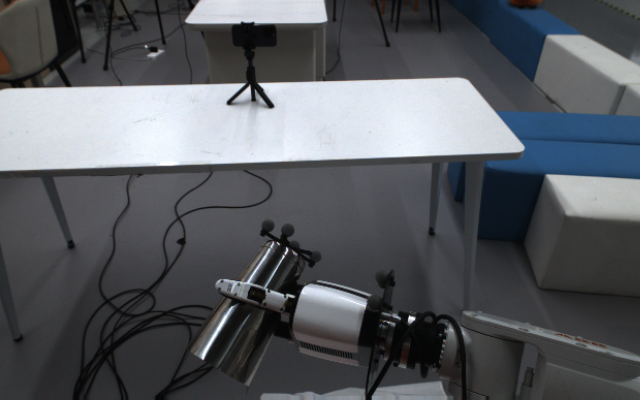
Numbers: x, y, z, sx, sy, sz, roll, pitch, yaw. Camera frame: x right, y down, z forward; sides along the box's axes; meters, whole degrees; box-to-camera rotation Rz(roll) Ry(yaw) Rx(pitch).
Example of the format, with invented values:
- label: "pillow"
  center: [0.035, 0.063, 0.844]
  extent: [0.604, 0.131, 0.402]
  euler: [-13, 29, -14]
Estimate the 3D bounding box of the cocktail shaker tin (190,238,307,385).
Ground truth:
- label: "cocktail shaker tin"
  center: [-0.088, 0.138, 0.633]
  extent: [0.093, 0.093, 0.170]
  euler: [20, 67, 24]
